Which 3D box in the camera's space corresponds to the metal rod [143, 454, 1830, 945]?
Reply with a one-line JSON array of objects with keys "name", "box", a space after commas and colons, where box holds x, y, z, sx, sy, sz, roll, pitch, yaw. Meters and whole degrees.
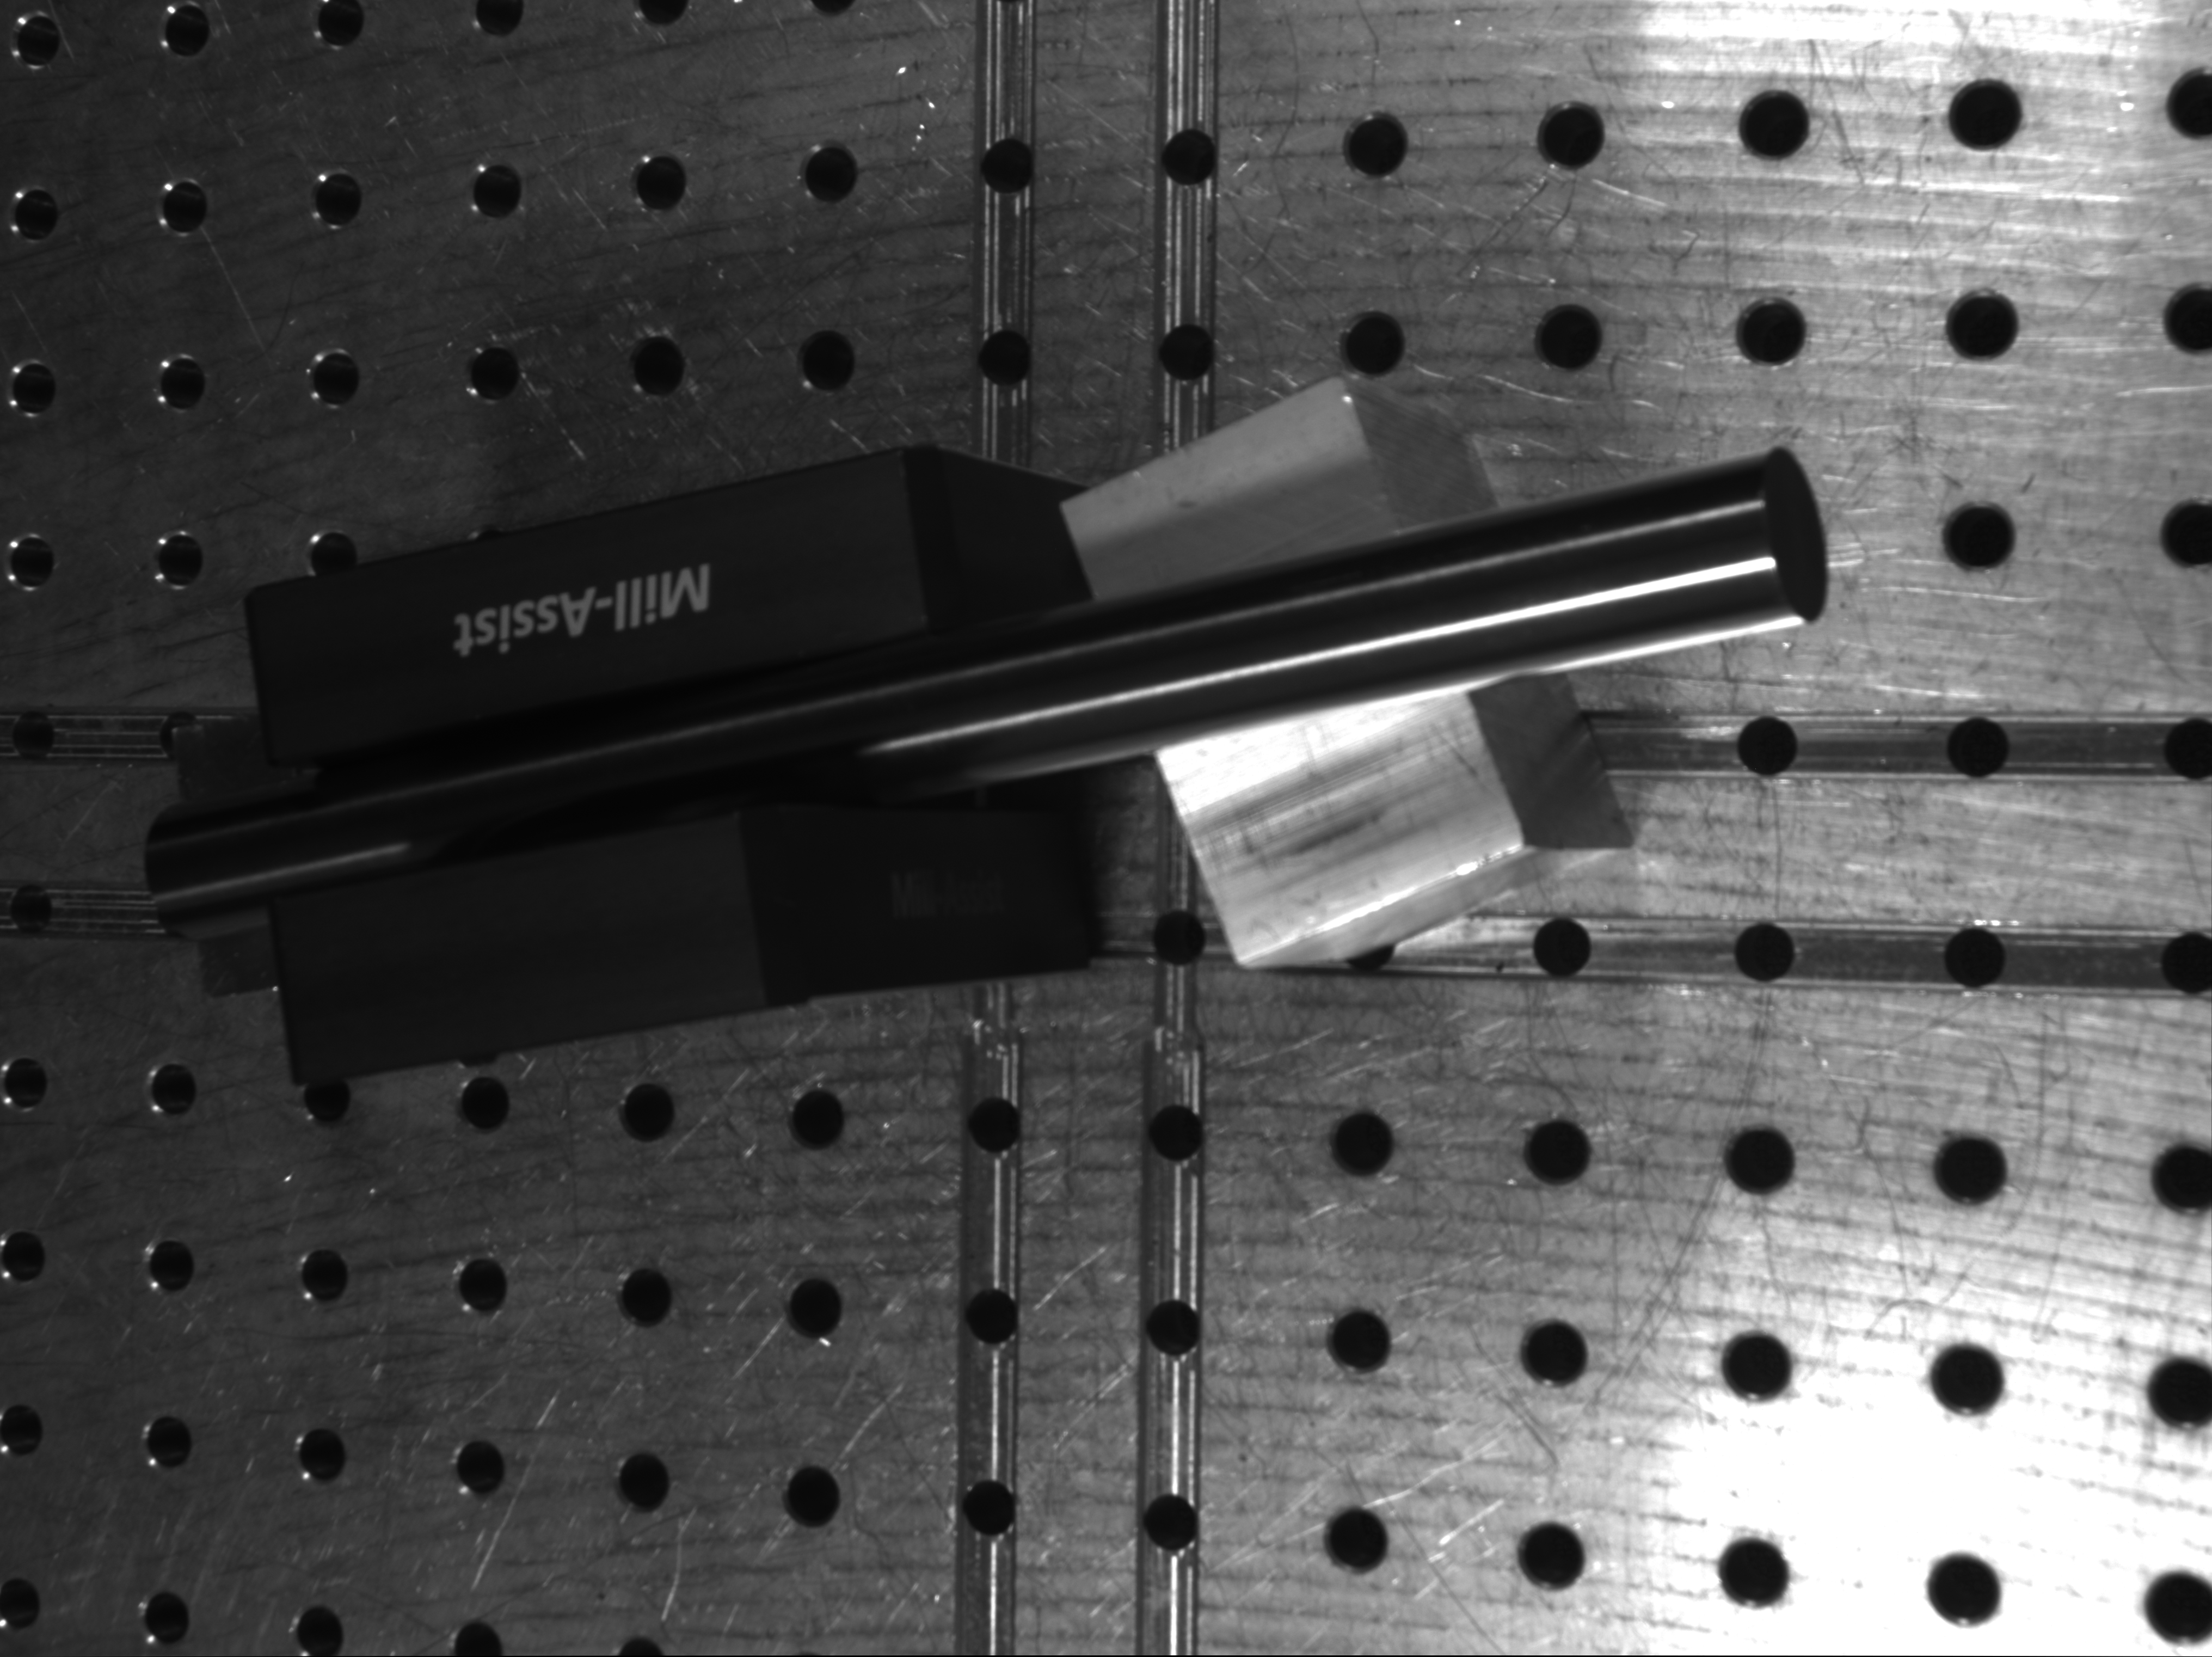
[{"name": "metal rod", "box": [-0.033, -0.016, 0.578, 0.299, 0.025, 0.025, -11, 86, 29]}]

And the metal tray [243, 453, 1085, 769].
[{"name": "metal tray", "box": [-0.071, -0.035, 0.637, 0.130, 0.090, 0.030, -10, 87, 19]}]

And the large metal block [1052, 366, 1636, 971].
[{"name": "large metal block", "box": [0.041, -0.024, 0.602, 0.050, 0.080, 0.080, -24, 82, 18]}]

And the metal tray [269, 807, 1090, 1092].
[{"name": "metal tray", "box": [-0.067, 0.019, 0.615, 0.090, 0.130, 0.030, -10, 87, 19]}]

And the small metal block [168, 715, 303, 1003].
[{"name": "small metal block", "box": [-0.147, 0.005, 0.686, 0.025, 0.050, 0.050, -9, 87, 20]}]
